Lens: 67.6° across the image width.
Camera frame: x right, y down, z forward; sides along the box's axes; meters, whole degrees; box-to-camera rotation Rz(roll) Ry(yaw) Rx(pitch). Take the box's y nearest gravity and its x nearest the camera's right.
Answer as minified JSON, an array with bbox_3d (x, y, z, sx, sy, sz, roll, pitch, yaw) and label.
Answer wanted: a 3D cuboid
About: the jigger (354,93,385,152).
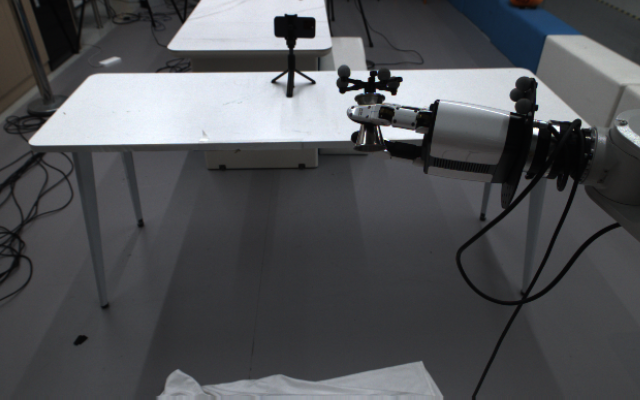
[{"bbox_3d":[0.064,-0.101,0.629,0.043,0.071,0.043,1,-5,0],"label":"jigger"}]
